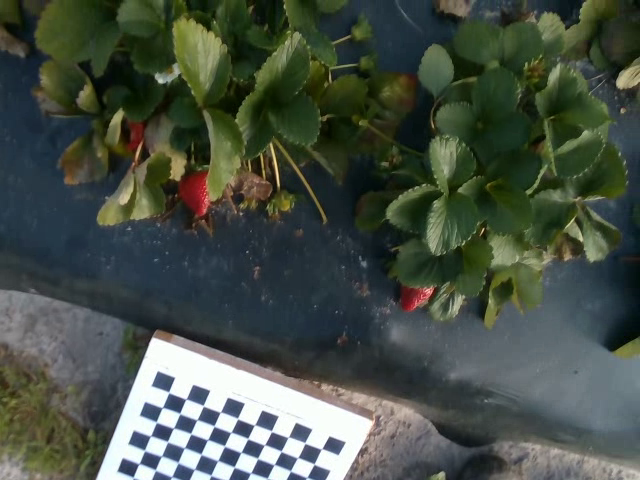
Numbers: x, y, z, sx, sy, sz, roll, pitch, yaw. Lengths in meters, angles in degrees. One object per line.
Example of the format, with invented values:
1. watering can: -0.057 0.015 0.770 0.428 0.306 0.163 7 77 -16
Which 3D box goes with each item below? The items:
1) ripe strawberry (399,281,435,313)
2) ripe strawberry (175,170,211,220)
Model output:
1. ripe strawberry: 0.070 0.041 0.449 0.029 0.036 0.021 25 8 -3
2. ripe strawberry: -0.086 -0.031 0.417 0.031 0.030 0.025 -13 -2 3
